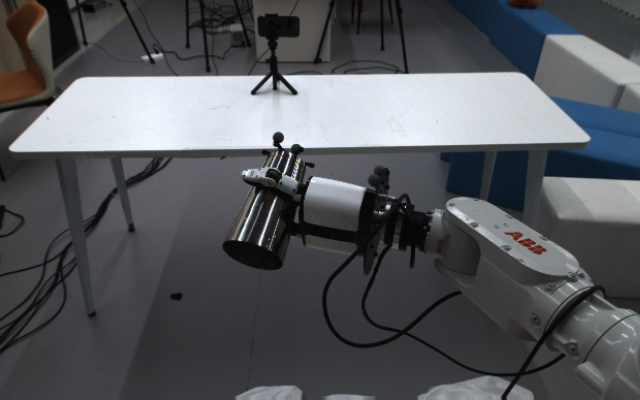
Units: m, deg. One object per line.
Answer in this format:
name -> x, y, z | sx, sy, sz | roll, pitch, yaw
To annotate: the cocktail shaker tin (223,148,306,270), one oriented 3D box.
cocktail shaker tin -> -0.075, 0.010, 0.734 | 0.093, 0.093, 0.170 | 10, 60, 12
